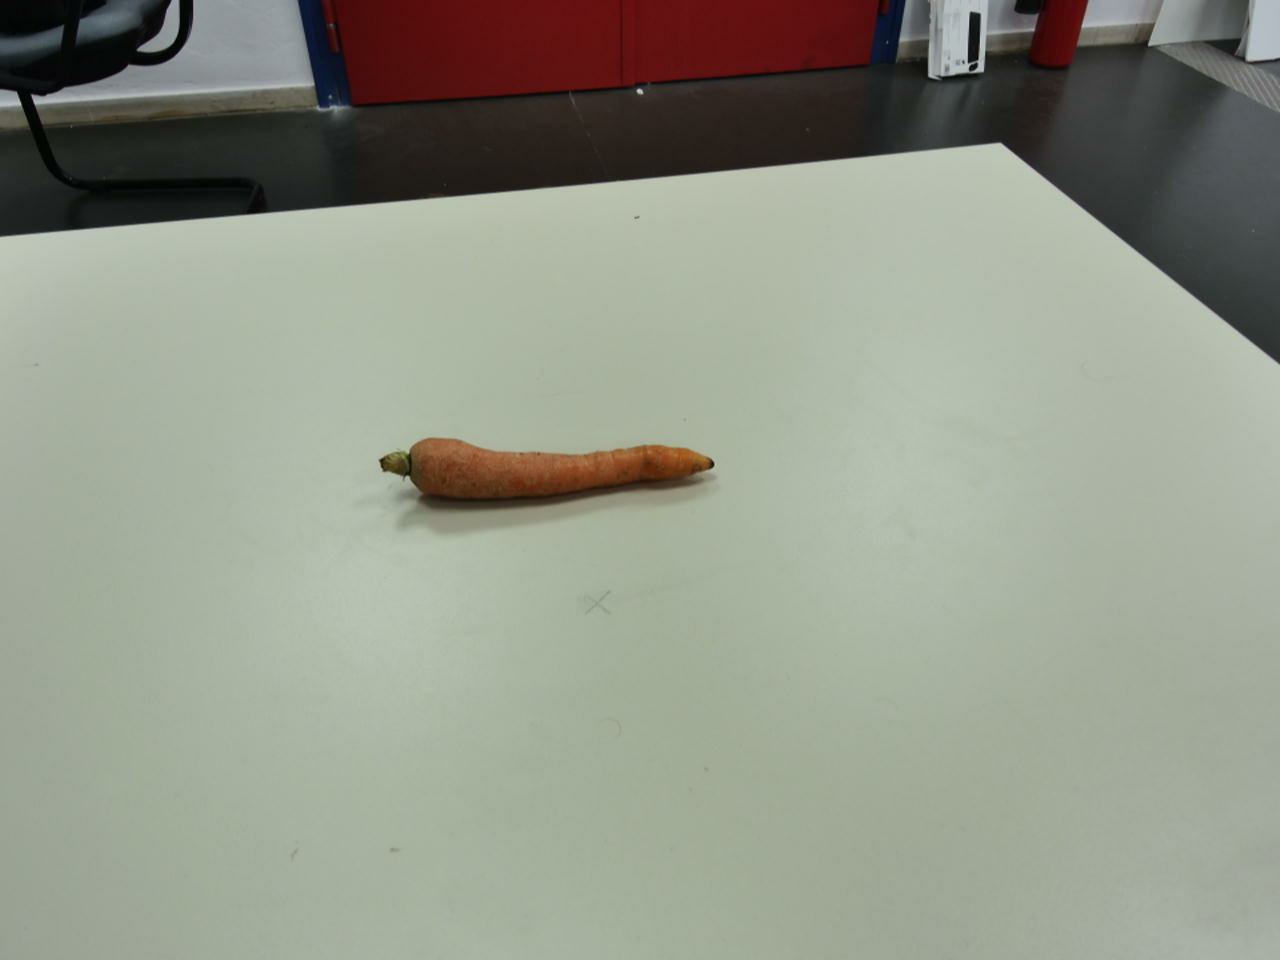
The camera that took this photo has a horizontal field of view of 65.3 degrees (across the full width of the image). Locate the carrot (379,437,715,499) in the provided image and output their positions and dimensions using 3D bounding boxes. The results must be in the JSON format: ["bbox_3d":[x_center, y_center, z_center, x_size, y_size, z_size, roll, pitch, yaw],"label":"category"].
[{"bbox_3d":[-0.046,-0.008,0.517,0.173,0.032,0.030,-2,39,-3],"label":"carrot"}]
